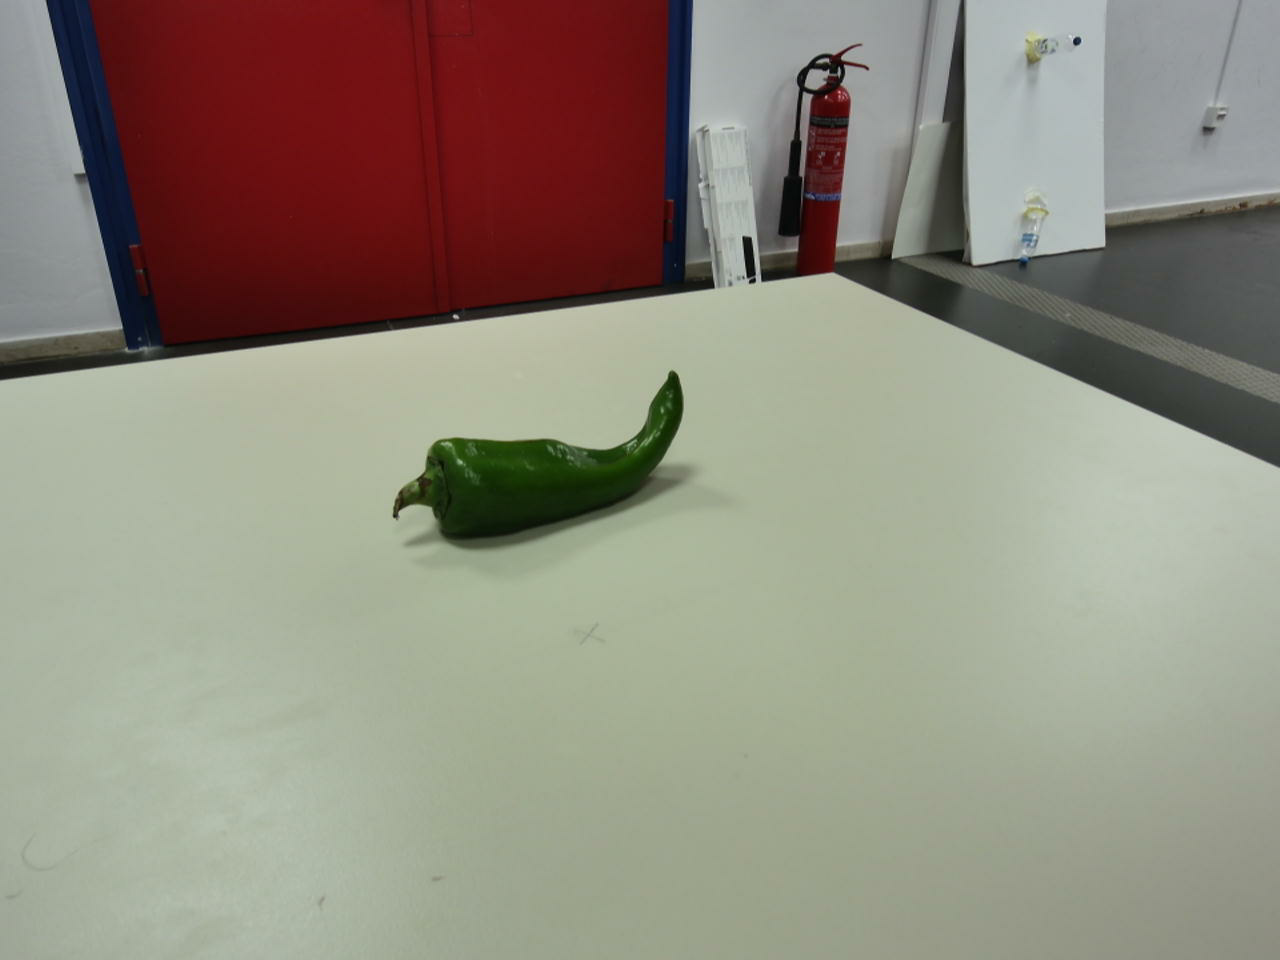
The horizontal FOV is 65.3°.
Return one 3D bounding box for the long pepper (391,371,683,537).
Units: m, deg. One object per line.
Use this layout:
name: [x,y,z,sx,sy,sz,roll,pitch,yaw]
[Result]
long pepper: [-0.049,-0.013,0.539,0.175,0.065,0.058,-12,28,-24]
